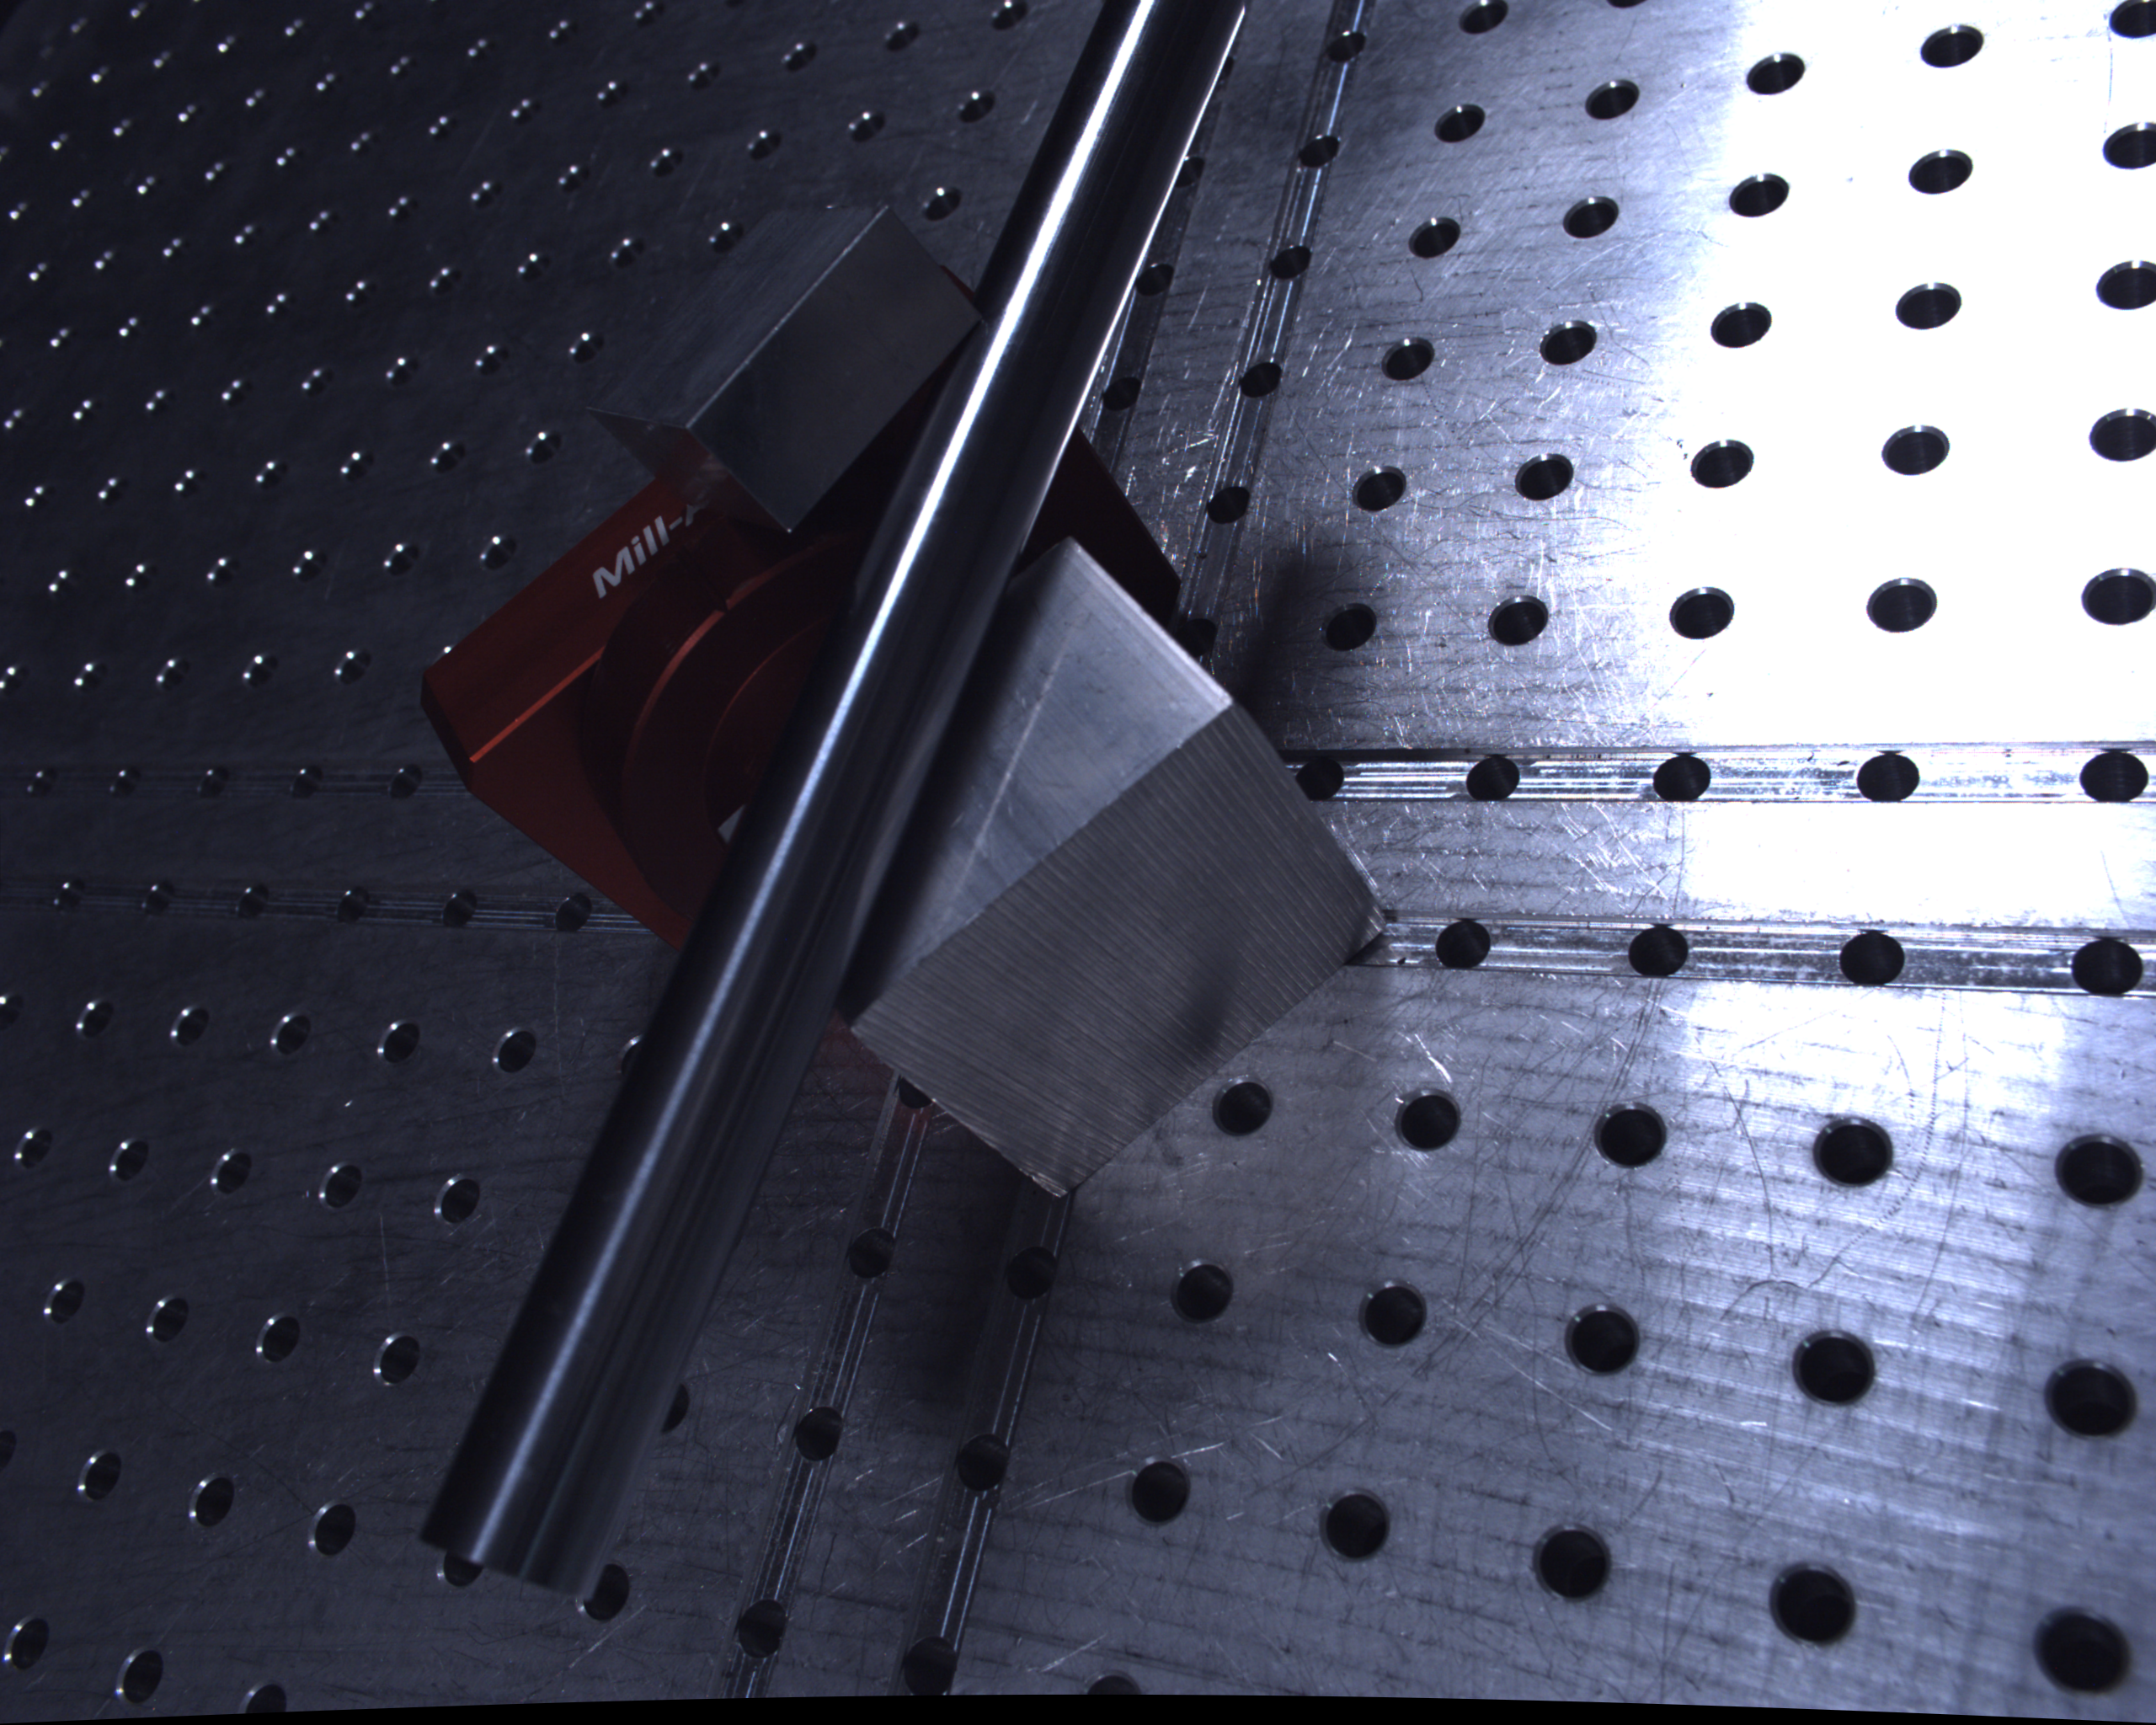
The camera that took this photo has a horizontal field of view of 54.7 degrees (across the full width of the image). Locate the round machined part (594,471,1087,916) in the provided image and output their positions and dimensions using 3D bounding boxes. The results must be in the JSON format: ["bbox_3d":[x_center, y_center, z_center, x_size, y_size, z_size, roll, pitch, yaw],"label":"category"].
[{"bbox_3d":[-0.038,-0.022,0.398,0.098,0.098,0.042,-41,51,0],"label":"round machined part"}]

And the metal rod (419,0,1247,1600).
[{"bbox_3d":[-0.029,-0.034,0.340,0.025,0.025,0.300,7,65,31],"label":"metal rod"}]

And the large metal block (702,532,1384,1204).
[{"bbox_3d":[-0.004,0.004,0.368,0.080,0.080,0.050,-40,51,1],"label":"large metal block"}]

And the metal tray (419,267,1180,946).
[{"bbox_3d":[-0.052,-0.045,0.419,0.130,0.090,0.030,-40,51,1],"label":"metal tray"}]

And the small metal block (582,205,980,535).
[{"bbox_3d":[-0.052,-0.086,0.362,0.050,0.025,0.050,-50,33,-10],"label":"small metal block"}]
